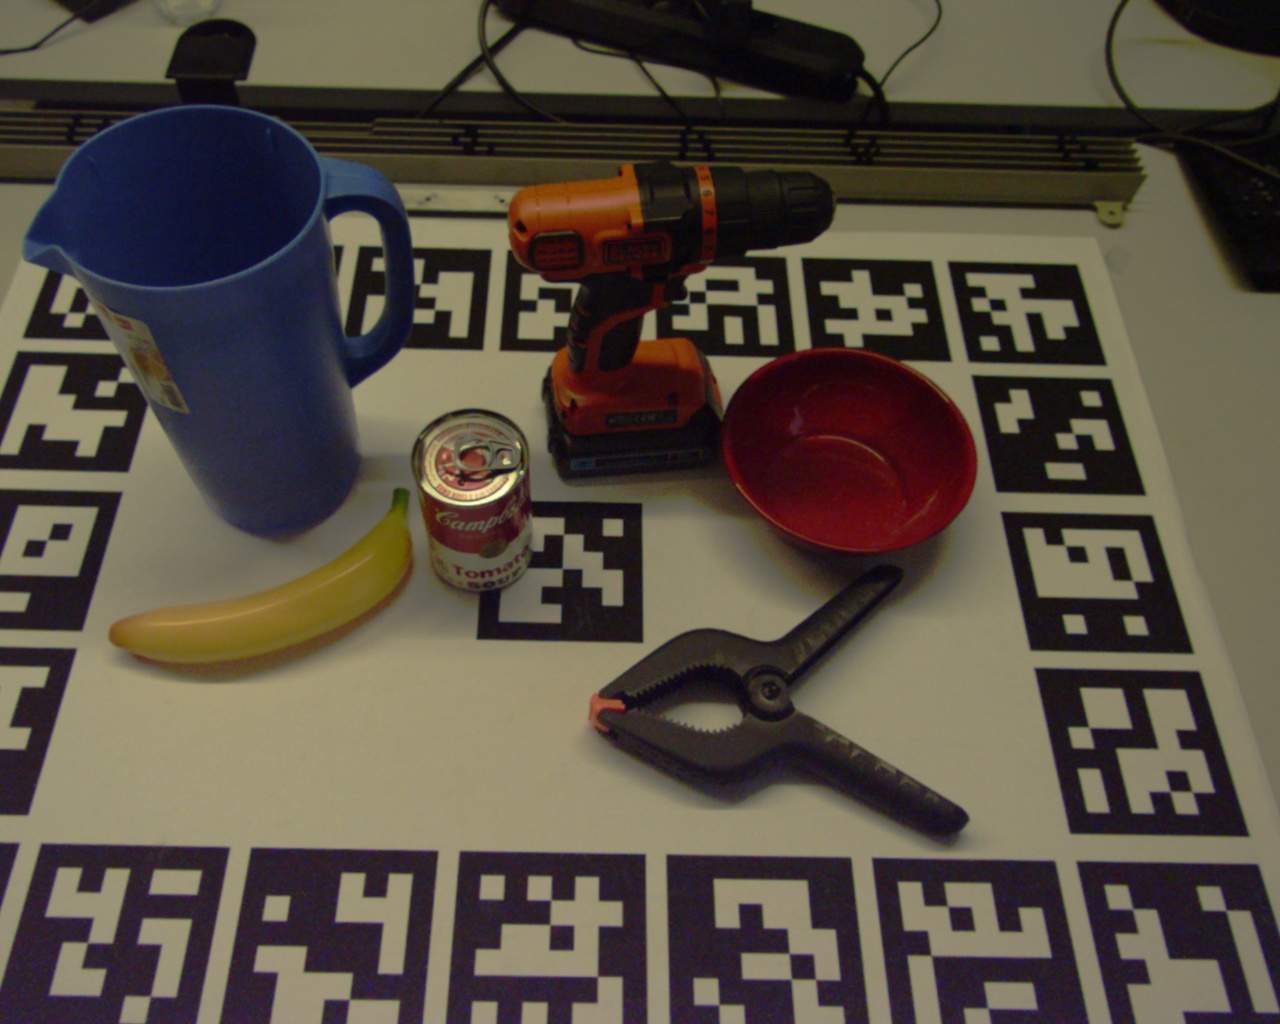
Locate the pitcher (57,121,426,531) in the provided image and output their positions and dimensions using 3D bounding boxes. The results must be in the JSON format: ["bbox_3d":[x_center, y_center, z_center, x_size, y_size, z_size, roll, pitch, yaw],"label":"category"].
[{"bbox_3d":[-0.216,-0.101,0.685,0.187,0.242,0.134,-21,58,-15],"label":"pitcher"}]

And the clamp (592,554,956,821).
[{"bbox_3d":[0.072,0.104,0.677,0.202,0.036,0.166,-2,62,-3],"label":"clamp"}]

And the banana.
[{"bbox_3d":[-0.221,0.050,0.713,0.196,0.038,0.075,-22,53,-16],"label":"banana"}]

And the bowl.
[{"bbox_3d":[0.127,-0.032,0.761,0.161,0.055,0.162,0,59,-1],"label":"bowl"}]

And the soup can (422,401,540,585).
[{"bbox_3d":[-0.097,-0.010,0.715,0.068,0.102,0.068,1,49,-2],"label":"soup can"}]

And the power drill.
[{"bbox_3d":[0.021,-0.126,0.718,0.184,0.186,0.057,-4,58,-5],"label":"power drill"}]
